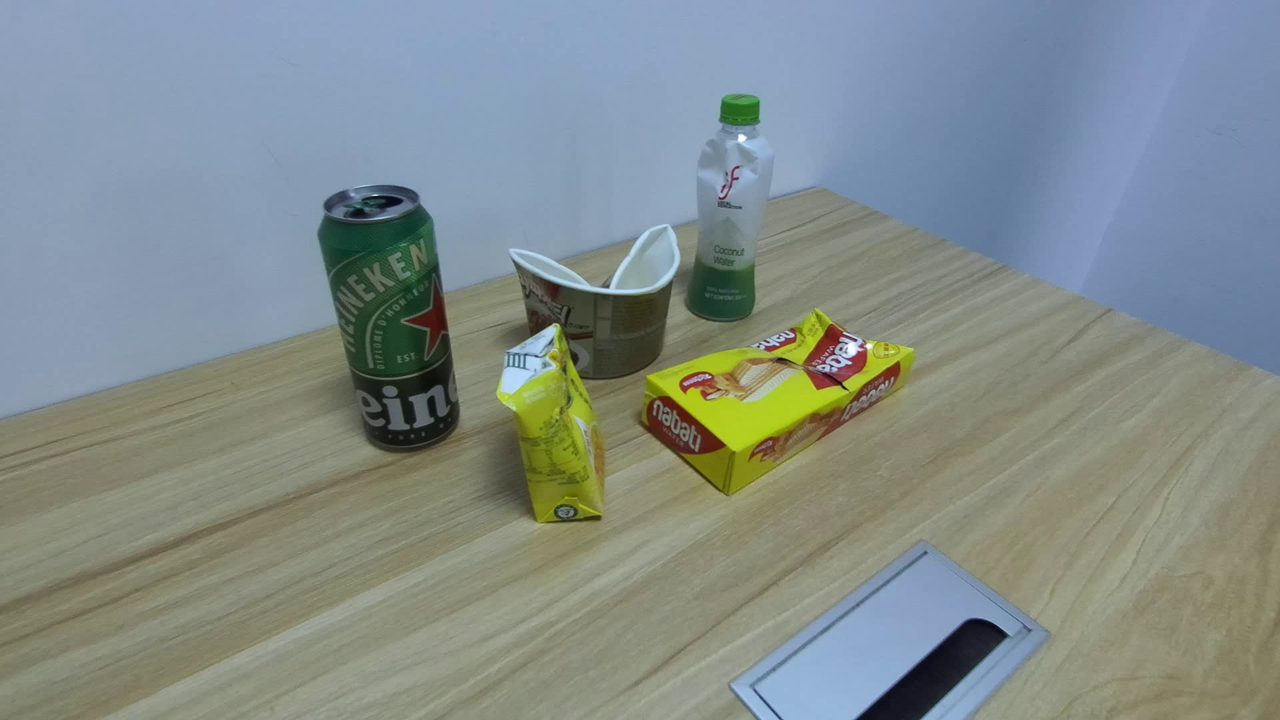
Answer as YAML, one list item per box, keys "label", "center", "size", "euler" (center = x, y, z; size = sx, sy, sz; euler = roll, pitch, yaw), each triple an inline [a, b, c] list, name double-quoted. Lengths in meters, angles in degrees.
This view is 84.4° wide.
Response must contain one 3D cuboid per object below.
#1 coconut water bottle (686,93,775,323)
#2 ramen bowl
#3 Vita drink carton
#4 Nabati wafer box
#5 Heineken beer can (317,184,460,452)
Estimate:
- label: "coconut water bottle"
  center: [0.075, -0.126, 0.600]
  size: [0.069, 0.186, 0.069]
  euler: [0, 33, 0]
- label: "ramen bowl"
  center: [-0.034, -0.048, 0.564]
  size: [0.137, 0.098, 0.137]
  euler: [0, 36, 0]
- label: "Vita drink carton"
  center: [-0.053, 0.039, 0.431]
  size: [0.042, 0.108, 0.087]
  euler: [-10, 30, 6]
- label: "Nabati wafer box"
  center: [0.106, 0.017, 0.531]
  size: [0.205, 0.042, 0.106]
  euler: [-22, 43, -33]
- label: "Heineken beer can"
  center: [-0.159, -0.022, 0.460]
  size: [0.067, 0.169, 0.067]
  euler: [1, 33, 0]
